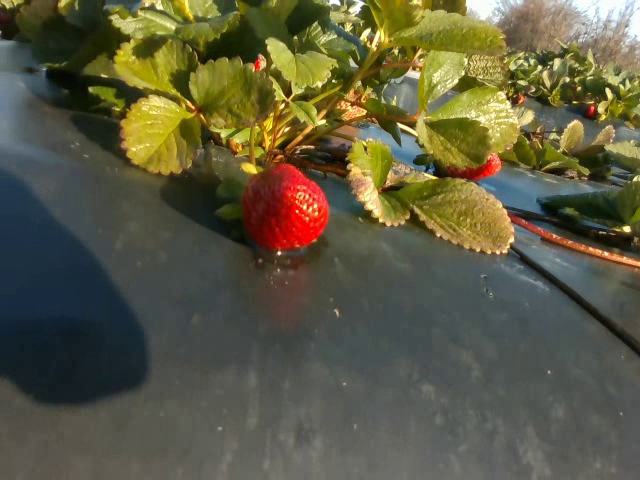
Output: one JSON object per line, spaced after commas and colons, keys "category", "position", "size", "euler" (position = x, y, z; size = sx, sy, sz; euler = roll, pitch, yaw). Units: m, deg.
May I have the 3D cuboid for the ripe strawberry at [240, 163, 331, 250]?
{"category": "ripe strawberry", "position": [-0.009, -0.009, 0.163], "size": [0.028, 0.031, 0.041], "euler": [-13, -4, -14]}
